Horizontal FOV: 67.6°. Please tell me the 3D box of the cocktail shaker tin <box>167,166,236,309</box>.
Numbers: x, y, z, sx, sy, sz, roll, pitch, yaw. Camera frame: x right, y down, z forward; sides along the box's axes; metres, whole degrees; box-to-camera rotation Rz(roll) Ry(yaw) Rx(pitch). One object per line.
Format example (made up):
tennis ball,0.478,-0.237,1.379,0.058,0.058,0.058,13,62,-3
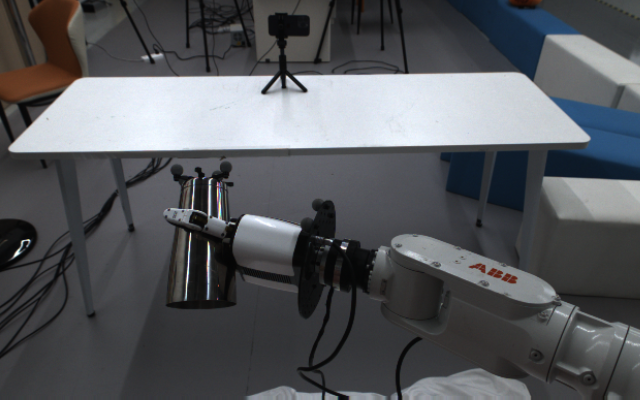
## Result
cocktail shaker tin,-0.162,0.060,0.669,0.093,0.093,0.170,-2,71,-6
